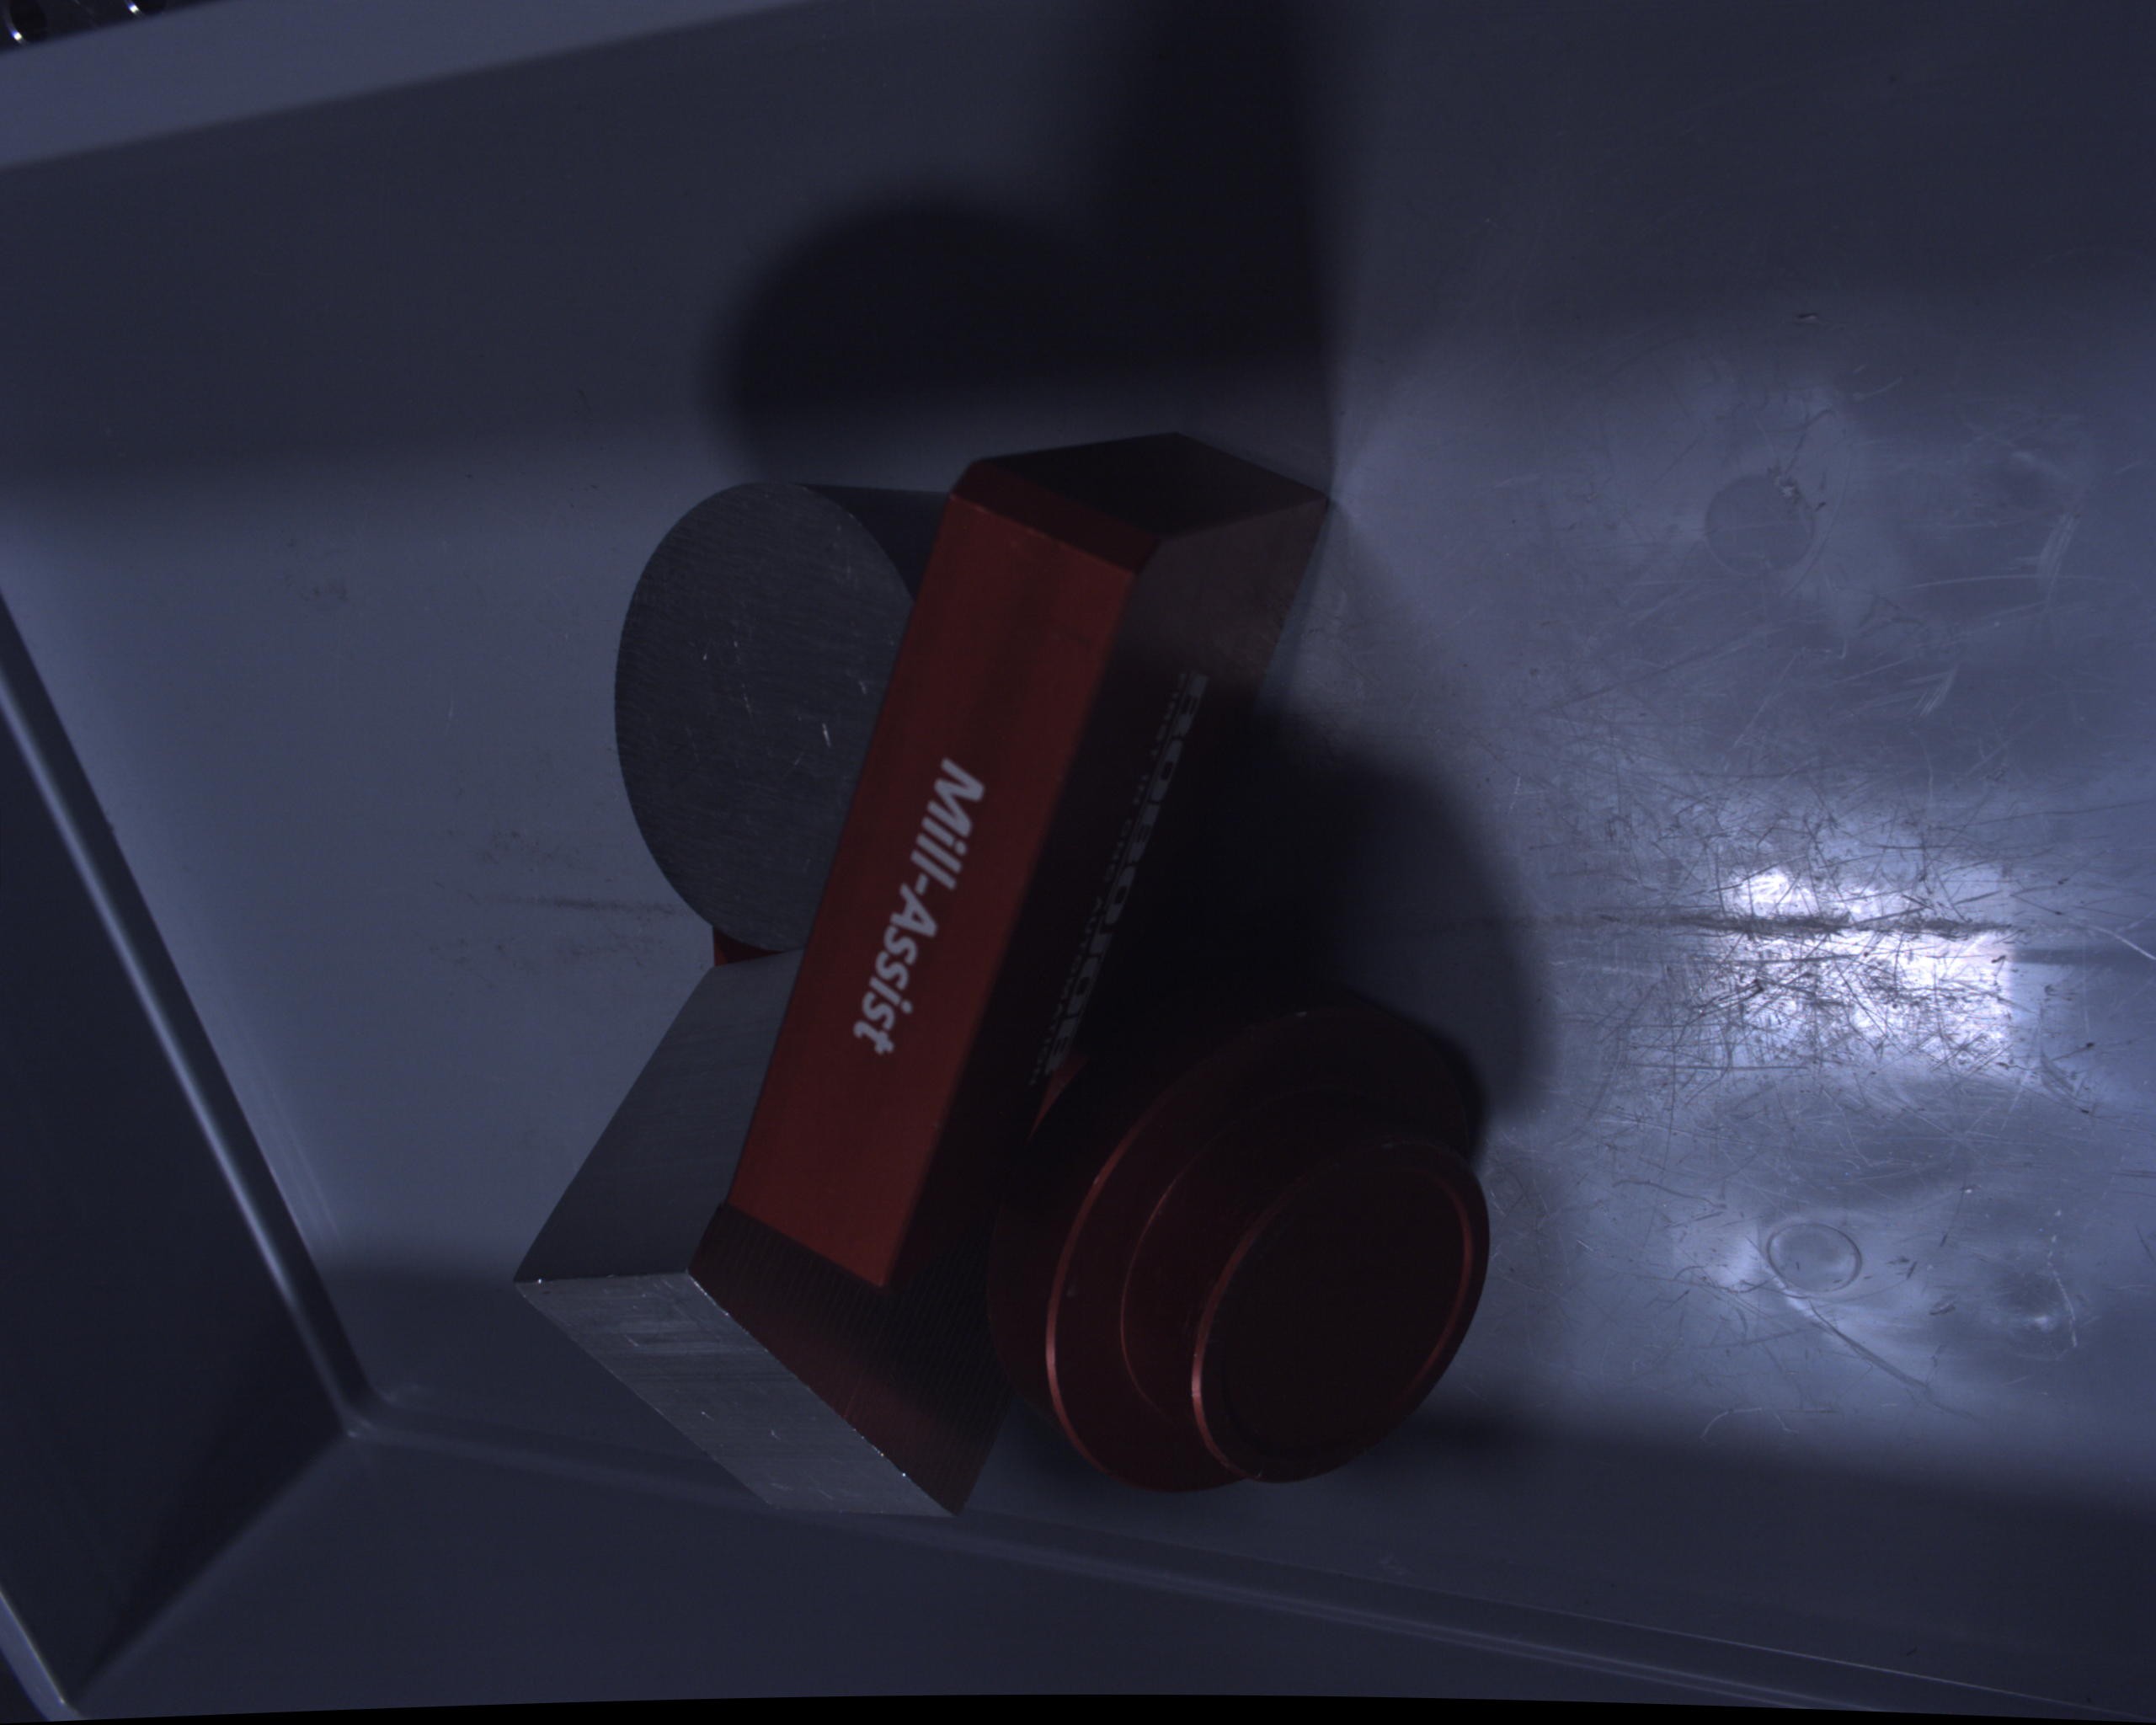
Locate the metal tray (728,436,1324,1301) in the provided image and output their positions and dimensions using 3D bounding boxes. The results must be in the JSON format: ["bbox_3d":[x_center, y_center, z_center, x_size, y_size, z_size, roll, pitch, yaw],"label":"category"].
[{"bbox_3d":[-0.007,-0.003,0.345,0.030,0.090,0.129,26,112,16],"label":"metal tray"}]

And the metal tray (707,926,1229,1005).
[{"bbox_3d":[-0.014,0.057,0.443,0.130,0.030,0.089,16,125,18],"label":"metal tray"}]

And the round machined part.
[{"bbox_3d":[0.036,0.073,0.380,0.042,0.099,0.097,29,136,49],"label":"round machined part"}]

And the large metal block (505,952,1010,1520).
[{"bbox_3d":[-0.049,0.071,0.410,0.050,0.080,0.080,-13,128,39],"label":"large metal block"}]

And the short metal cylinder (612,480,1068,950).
[{"bbox_3d":[-0.037,-0.027,0.373,0.080,0.050,0.079,5,99,38],"label":"short metal cylinder"}]
